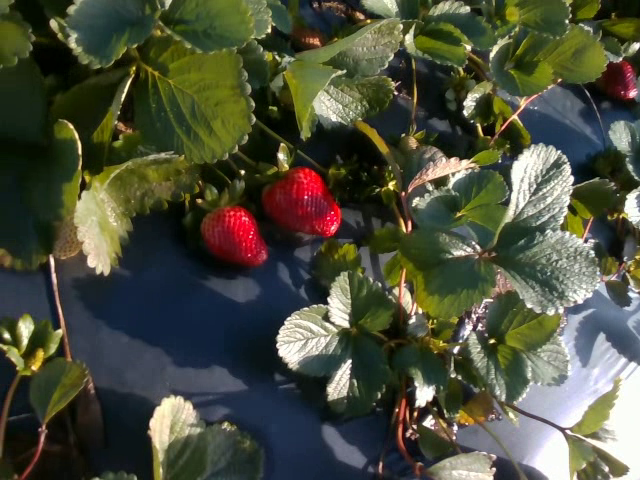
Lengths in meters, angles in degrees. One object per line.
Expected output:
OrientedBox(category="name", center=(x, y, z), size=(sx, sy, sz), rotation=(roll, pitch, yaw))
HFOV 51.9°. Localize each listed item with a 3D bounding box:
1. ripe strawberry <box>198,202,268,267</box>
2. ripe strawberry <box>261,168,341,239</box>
OrientedBox(category="ripe strawberry", center=(-0.049, 0.001, 0.395), size=(0.051, 0.043, 0.037), rotation=(38, -3, 12))
OrientedBox(category="ripe strawberry", center=(-0.007, -0.021, 0.423), size=(0.057, 0.052, 0.046), rotation=(43, -8, 15))
